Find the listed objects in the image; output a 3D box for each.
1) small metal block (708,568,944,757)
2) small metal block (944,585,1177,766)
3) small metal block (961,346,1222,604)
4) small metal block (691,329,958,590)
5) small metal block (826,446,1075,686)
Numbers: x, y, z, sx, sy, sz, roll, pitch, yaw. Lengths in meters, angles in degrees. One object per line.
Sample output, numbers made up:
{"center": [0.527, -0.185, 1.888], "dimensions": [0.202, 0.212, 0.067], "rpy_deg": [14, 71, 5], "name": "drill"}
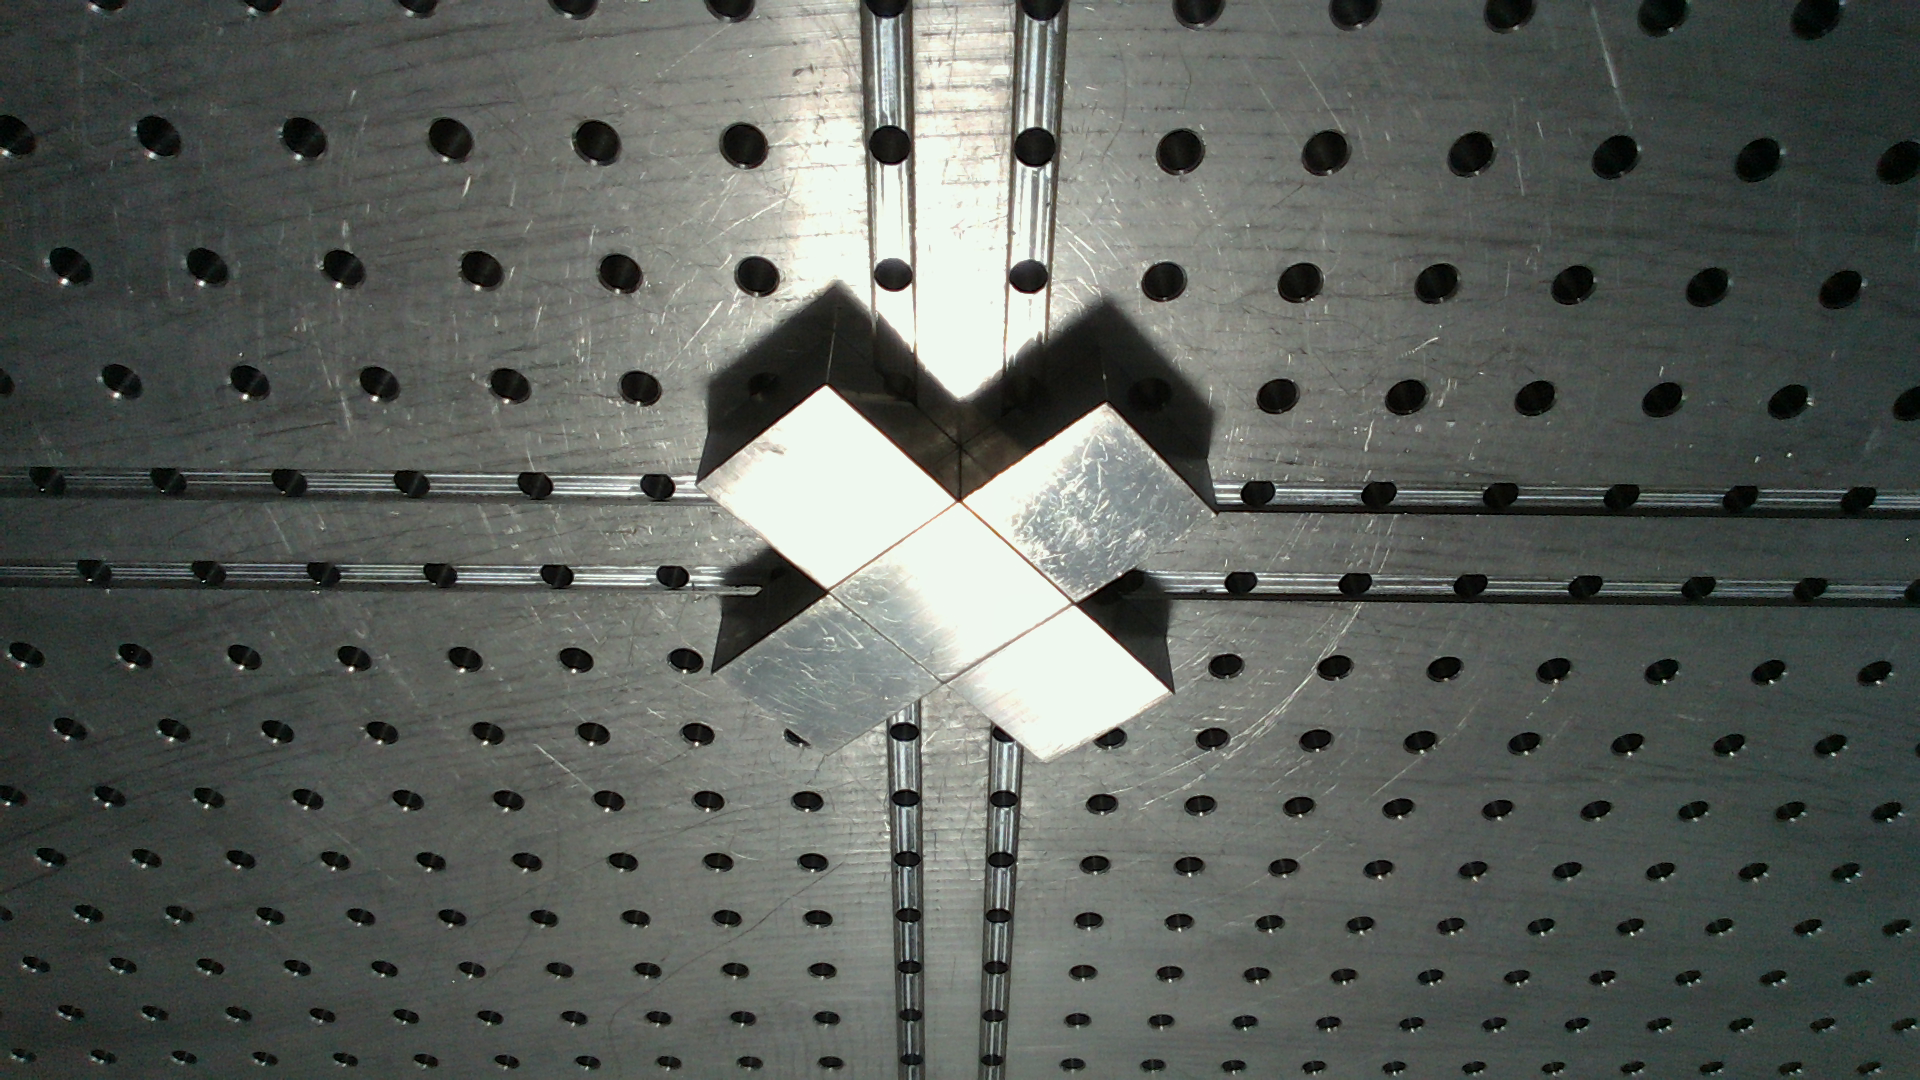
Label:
{"center": [-0.040, 0.034, 0.422], "dimensions": [0.050, 0.025, 0.050], "rpy_deg": [-34, 122, 25], "name": "small metal block"}
{"center": [0.030, 0.037, 0.425], "dimensions": [0.050, 0.025, 0.050], "rpy_deg": [-34, 123, 25], "name": "small metal block"}
{"center": [0.036, -0.017, 0.379], "dimensions": [0.050, 0.025, 0.050], "rpy_deg": [-34, 122, 25], "name": "small metal block"}
{"center": [-0.036, -0.021, 0.376], "dimensions": [0.050, 0.025, 0.050], "rpy_deg": [-34, 123, 25], "name": "small metal block"}
{"center": [-0.003, 0.009, 0.399], "dimensions": [0.050, 0.025, 0.050], "rpy_deg": [-34, 122, 25], "name": "small metal block"}
